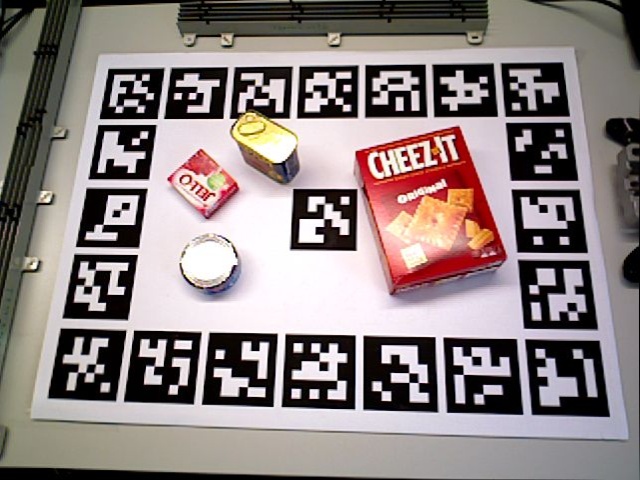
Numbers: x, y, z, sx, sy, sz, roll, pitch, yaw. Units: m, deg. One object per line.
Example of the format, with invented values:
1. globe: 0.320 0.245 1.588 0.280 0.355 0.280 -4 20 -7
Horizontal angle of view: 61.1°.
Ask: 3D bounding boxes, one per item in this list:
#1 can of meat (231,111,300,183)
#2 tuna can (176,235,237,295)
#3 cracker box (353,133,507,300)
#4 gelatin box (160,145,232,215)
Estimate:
1. can of meat: -0.081 -0.144 0.848 0.102 0.085 0.057 30 73 14
2. tuna can: -0.167 0.038 0.806 0.085 0.034 0.085 -1 74 4
3. cracker box: 0.156 -0.038 0.801 0.163 0.073 0.212 -14 69 -3
4. gelatin box: -0.194 -0.096 0.858 0.089 0.030 0.072 43 75 13
